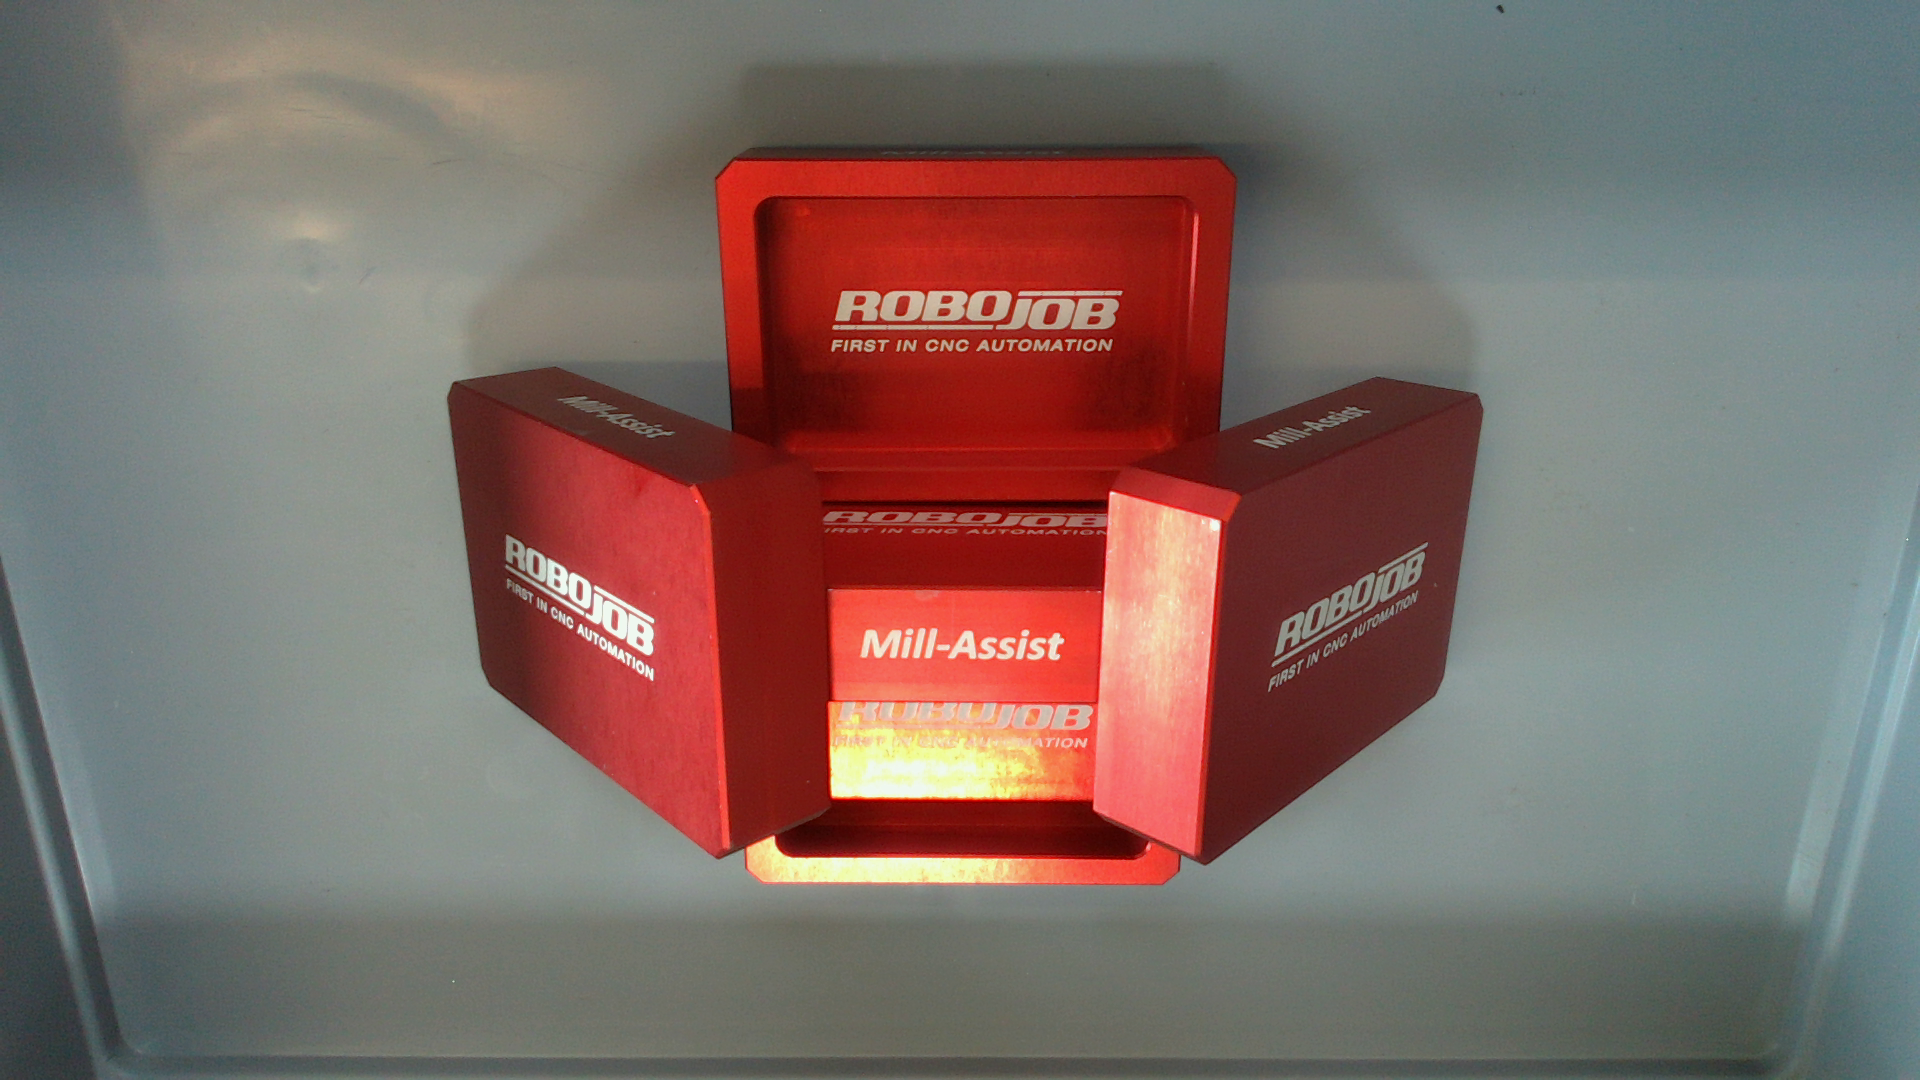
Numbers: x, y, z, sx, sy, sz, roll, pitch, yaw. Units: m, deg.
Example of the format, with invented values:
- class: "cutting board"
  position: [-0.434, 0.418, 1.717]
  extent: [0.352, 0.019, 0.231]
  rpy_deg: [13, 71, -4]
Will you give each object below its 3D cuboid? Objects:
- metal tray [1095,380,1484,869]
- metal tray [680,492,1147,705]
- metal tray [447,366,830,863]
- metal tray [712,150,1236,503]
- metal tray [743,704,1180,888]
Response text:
- class: "metal tray"
  position: [0.087, 0.015, 0.349]
  extent: [0.030, 0.131, 0.090]
  rpy_deg: [18, 116, 39]
- class: "metal tray"
  position: [0.000, 0.010, 0.362]
  extent: [0.130, 0.090, 0.030]
  rpy_deg: [0, 110, -1]
- class: "metal tray"
  position: [-0.084, 0.012, 0.348]
  extent: [0.030, 0.129, 0.090]
  rpy_deg: [-17, 116, -39]
- class: "metal tray"
  position: [0.004, -0.057, 0.368]
  extent: [0.130, 0.030, 0.090]
  rpy_deg: [-1, 111, -1]
- class: "metal tray"
  position: [0.001, 0.057, 0.409]
  extent: [0.130, 0.030, 0.090]
  rpy_deg: [0, 110, -1]
